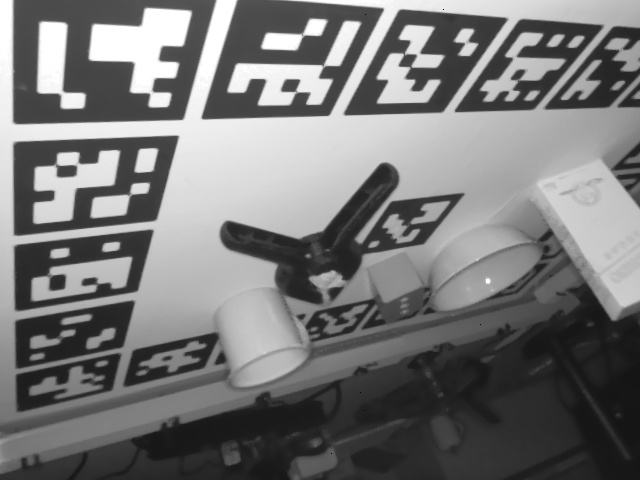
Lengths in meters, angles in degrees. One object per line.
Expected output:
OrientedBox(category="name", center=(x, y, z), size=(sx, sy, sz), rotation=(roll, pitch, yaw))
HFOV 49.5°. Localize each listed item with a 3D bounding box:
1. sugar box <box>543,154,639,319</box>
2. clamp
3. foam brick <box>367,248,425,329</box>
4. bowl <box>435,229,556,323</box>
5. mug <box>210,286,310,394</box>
OrientedBox(category="sugar box", center=(0.333, -0.009, 0.764), size=(0.093, 0.176, 0.045), rotation=(-19, 146, -8))
OrientedBox(category="clamp", center=(0.004, 0.007, 0.671), size=(0.167, 0.036, 0.201), rotation=(-21, 147, -12))
OrientedBox(category="foam brick", center=(0.089, 0.057, 0.812), size=(0.053, 0.051, 0.077), rotation=(-23, 147, -7))
OrientedBox(category="bowl", center=(0.203, 0.036, 0.849), size=(0.163, 0.055, 0.160), rotation=(-18, 147, -11))
OrientedBox(category="mug", center=(-0.059, 0.105, 0.731), size=(0.092, 0.081, 0.118), rotation=(-42, 141, 24))
